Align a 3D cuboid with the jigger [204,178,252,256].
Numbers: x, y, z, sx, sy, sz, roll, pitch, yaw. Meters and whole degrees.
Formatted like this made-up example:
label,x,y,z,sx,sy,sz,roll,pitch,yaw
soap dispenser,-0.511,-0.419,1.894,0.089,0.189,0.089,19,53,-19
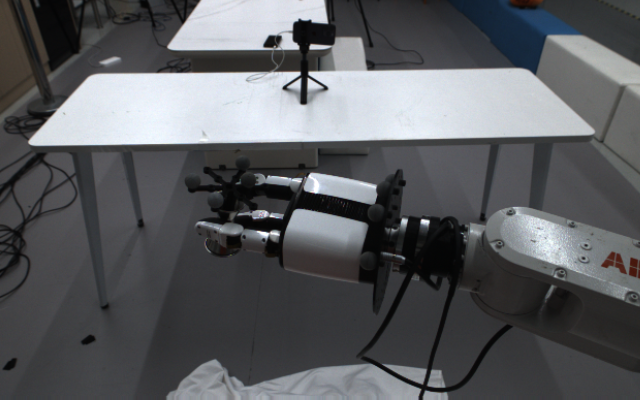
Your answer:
label,x,y,z,sx,sy,sz,roll,pitch,yaw
jigger,-0.112,0.026,0.565,0.043,0.071,0.043,10,35,-7
